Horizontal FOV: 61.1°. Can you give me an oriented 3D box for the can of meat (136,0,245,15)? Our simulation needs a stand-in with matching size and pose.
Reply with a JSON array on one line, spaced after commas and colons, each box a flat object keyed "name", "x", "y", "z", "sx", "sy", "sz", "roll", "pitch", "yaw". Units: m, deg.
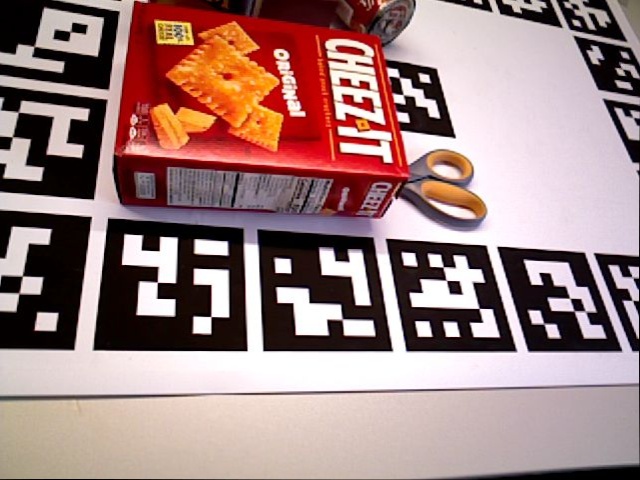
[{"name": "can of meat", "x": -0.116, "y": -0.227, "z": 0.492, "sx": 0.101, "sy": 0.085, "sz": 0.057, "roll": 17, "pitch": 59, "yaw": -11}]

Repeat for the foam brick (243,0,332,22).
[{"name": "foam brick", "x": -0.035, "y": -0.239, "z": 0.550, "sx": 0.077, "sy": 0.052, "sz": 0.052, "roll": -6, "pitch": 65, "yaw": -22}]

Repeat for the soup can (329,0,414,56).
[{"name": "soup can", "x": 0.041, "y": -0.258, "z": 0.584, "sx": 0.066, "sy": 0.069, "sz": 0.102, "roll": -35, "pitch": 73, "yaw": -31}]

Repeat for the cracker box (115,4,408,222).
[{"name": "cracker box", "x": -0.053, "y": -0.103, "z": 0.440, "sx": 0.211, "sy": 0.073, "sz": 0.162, "roll": -2, "pitch": 63, "yaw": -16}]

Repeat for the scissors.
[{"name": "scissors", "x": 0.050, "y": -0.048, "z": 0.484, "sx": 0.200, "sy": 0.016, "sz": 0.087, "roll": 0, "pitch": 64, "yaw": -19}]
